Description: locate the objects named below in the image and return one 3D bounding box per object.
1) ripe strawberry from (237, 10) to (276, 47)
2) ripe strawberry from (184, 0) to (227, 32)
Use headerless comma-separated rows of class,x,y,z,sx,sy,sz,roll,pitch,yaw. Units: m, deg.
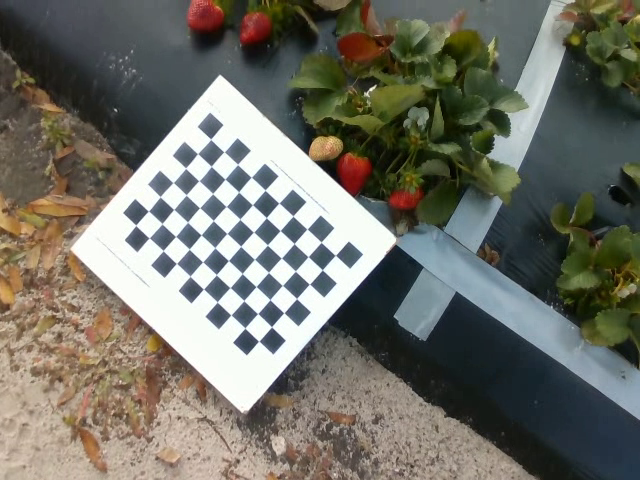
ripe strawberry,-0.088,-0.270,0.722,0.042,0.053,0.034,26,-32,8
ripe strawberry,-0.154,-0.283,0.721,0.050,0.061,0.045,31,-34,7
